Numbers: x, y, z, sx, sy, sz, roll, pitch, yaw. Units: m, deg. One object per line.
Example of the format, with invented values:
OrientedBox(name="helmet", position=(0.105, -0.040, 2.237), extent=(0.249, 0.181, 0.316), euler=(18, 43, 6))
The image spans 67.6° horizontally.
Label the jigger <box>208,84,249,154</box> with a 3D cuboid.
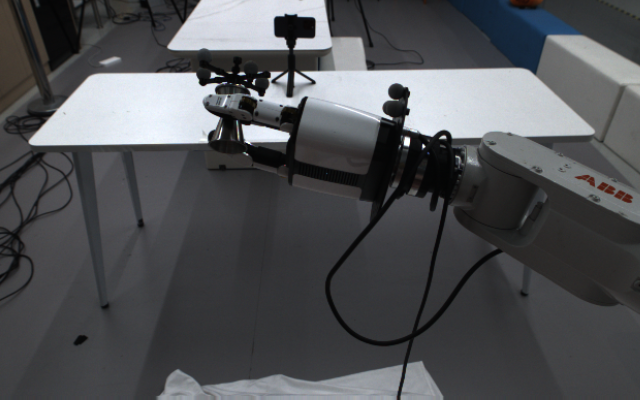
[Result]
OrientedBox(name="jigger", position=(-0.102, -0.092, 0.545), extent=(0.043, 0.043, 0.071), euler=(2, 76, 0))
